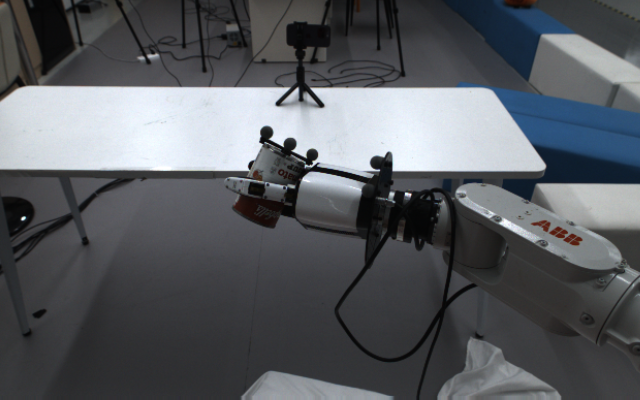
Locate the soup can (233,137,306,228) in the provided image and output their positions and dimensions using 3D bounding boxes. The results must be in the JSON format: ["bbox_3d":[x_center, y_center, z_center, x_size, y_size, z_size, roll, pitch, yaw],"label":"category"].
[{"bbox_3d":[-0.071,-0.019,0.679,0.067,0.101,0.067,26,6,-3],"label":"soup can"}]
